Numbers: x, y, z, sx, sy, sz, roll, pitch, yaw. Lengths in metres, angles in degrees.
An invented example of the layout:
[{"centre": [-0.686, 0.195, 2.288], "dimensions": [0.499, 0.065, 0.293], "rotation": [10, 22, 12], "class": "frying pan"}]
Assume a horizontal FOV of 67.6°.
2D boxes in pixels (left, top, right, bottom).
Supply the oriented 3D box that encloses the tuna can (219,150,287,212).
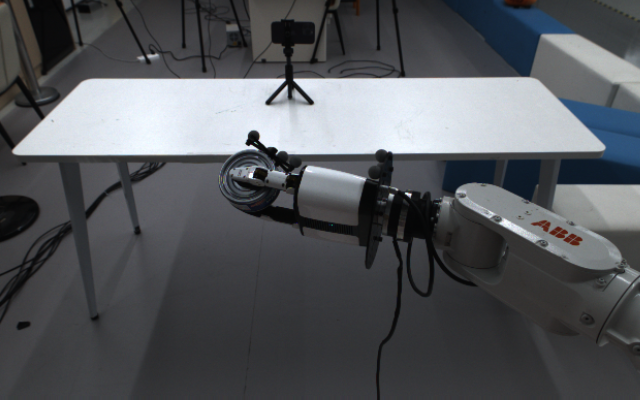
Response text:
[{"centre": [-0.097, -0.022, 0.687], "dimensions": [0.085, 0.034, 0.085], "rotation": [-4, 69, 10], "class": "tuna can"}]
